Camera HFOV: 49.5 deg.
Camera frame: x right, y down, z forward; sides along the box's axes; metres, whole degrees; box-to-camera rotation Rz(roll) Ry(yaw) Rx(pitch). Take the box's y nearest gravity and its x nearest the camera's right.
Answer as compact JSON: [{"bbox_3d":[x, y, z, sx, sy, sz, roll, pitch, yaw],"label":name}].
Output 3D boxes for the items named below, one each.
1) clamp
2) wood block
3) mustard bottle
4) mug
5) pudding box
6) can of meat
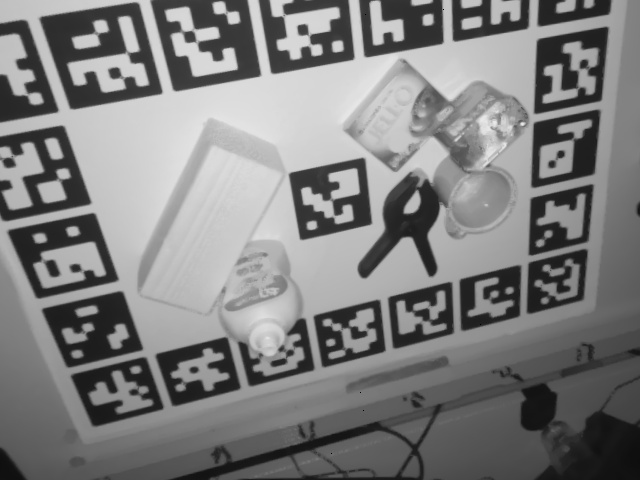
[{"bbox_3d":[0.128,-0.009,0.906,0.123,0.036,0.163,5,114,-14],"label":"clamp"},{"bbox_3d":[-0.130,-0.030,0.803,0.091,0.091,0.204,22,112,-24],"label":"wood block"},{"bbox_3d":[-0.065,0.076,0.809,0.096,0.192,0.058,-17,119,-4],"label":"mustard bottle"},{"bbox_3d":[0.204,-0.059,0.893,0.094,0.081,0.116,8,113,-16],"label":"mug"},{"bbox_3d":[0.101,-0.151,0.820,0.090,0.039,0.113,36,106,-26],"label":"pudding box"},{"bbox_3d":[0.205,-0.141,0.818,0.101,0.084,0.058,-39,117,9],"label":"can of meat"}]
